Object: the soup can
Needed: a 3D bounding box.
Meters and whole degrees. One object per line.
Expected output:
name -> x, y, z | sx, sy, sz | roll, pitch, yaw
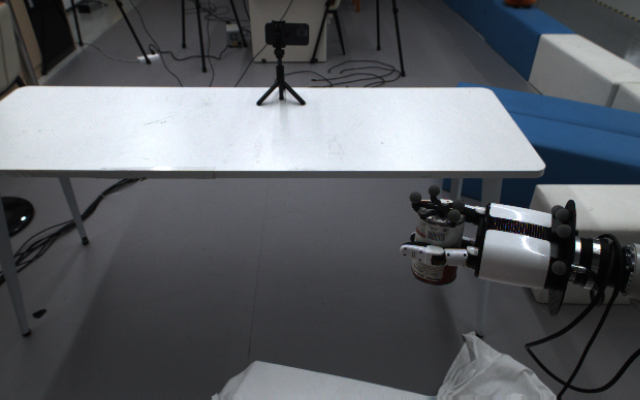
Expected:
soup can -> 0.173, 0.062, 0.705 | 0.067, 0.101, 0.067 | 1, 25, 0
